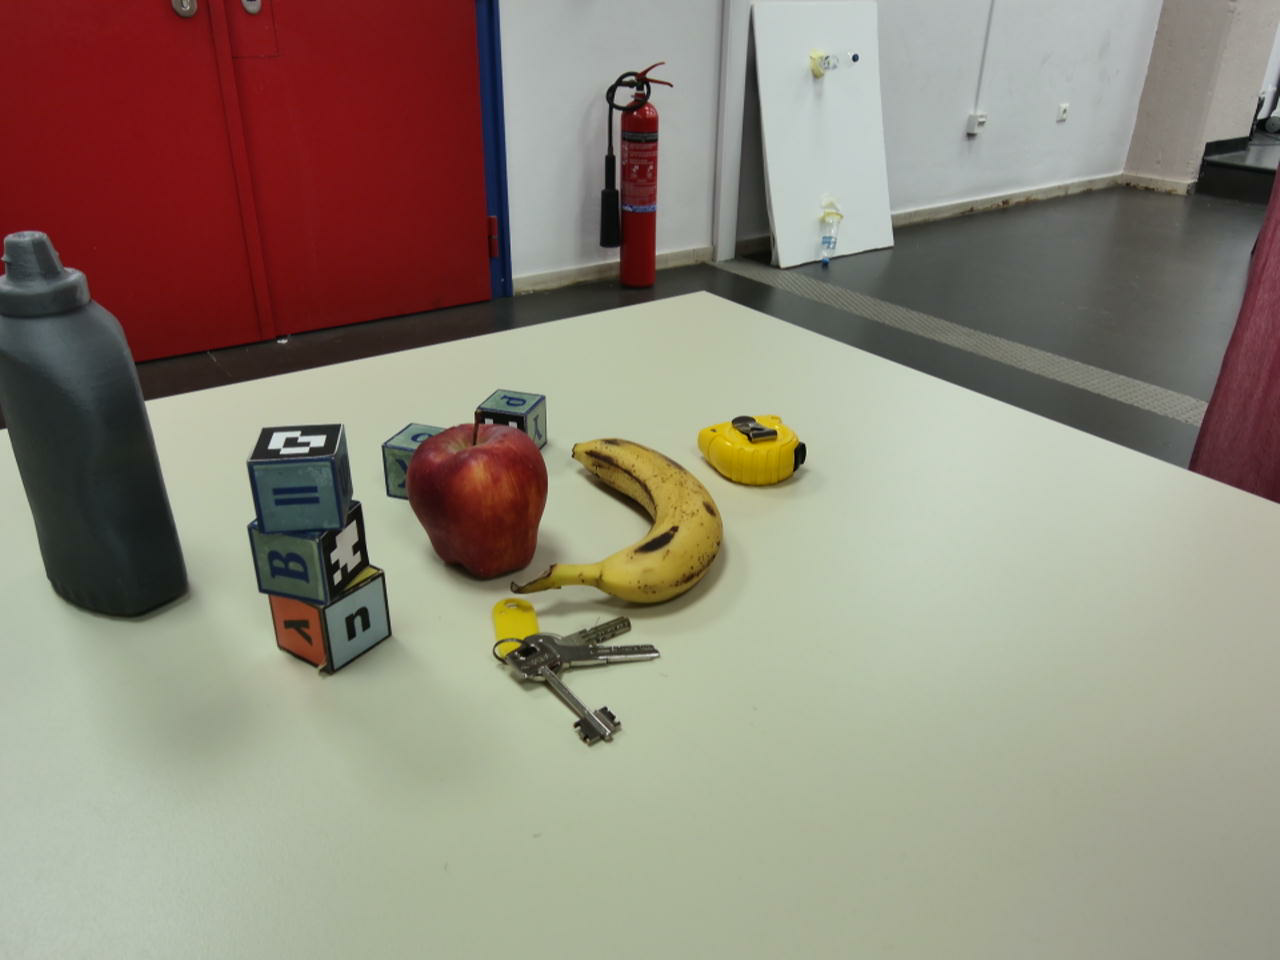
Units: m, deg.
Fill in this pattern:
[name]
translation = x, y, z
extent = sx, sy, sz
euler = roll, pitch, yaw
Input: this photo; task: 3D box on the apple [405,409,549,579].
[apple]
translation = -0.091, 0.005, 0.559
extent = 0.083, 0.090, 0.083
euler = 0, 26, 0
